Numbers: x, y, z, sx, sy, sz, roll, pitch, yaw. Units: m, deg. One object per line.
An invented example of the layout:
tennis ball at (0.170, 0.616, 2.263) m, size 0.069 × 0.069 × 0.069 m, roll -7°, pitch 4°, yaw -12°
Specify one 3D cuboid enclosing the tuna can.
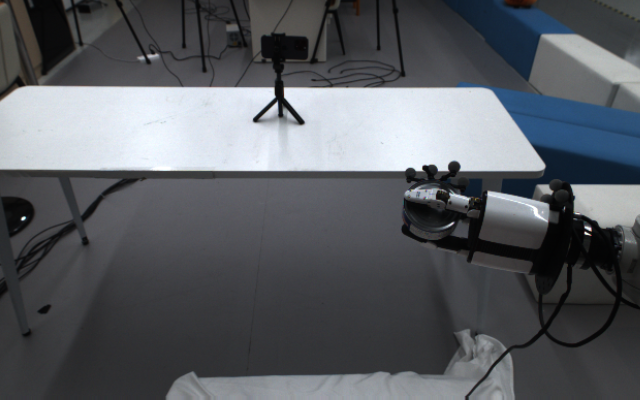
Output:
tuna can at (0.164, 0.009, 0.709) m, size 0.085 × 0.034 × 0.085 m, roll -2°, pitch 57°, yaw 3°
